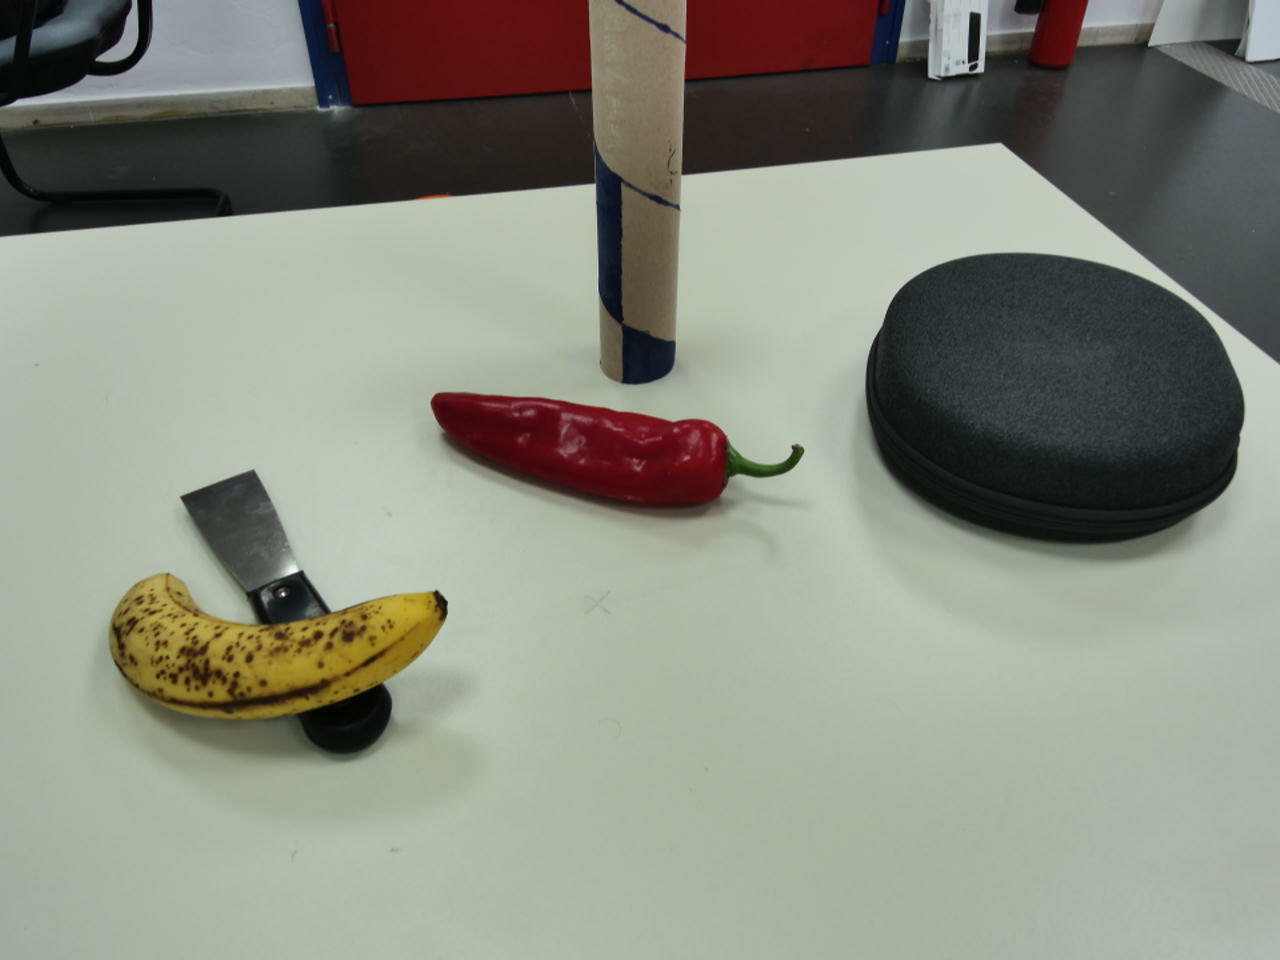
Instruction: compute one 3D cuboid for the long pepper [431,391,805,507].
[{"bbox_3d":[-0.021,-0.019,0.524,0.211,0.043,0.050,12,41,15],"label":"long pepper"}]
